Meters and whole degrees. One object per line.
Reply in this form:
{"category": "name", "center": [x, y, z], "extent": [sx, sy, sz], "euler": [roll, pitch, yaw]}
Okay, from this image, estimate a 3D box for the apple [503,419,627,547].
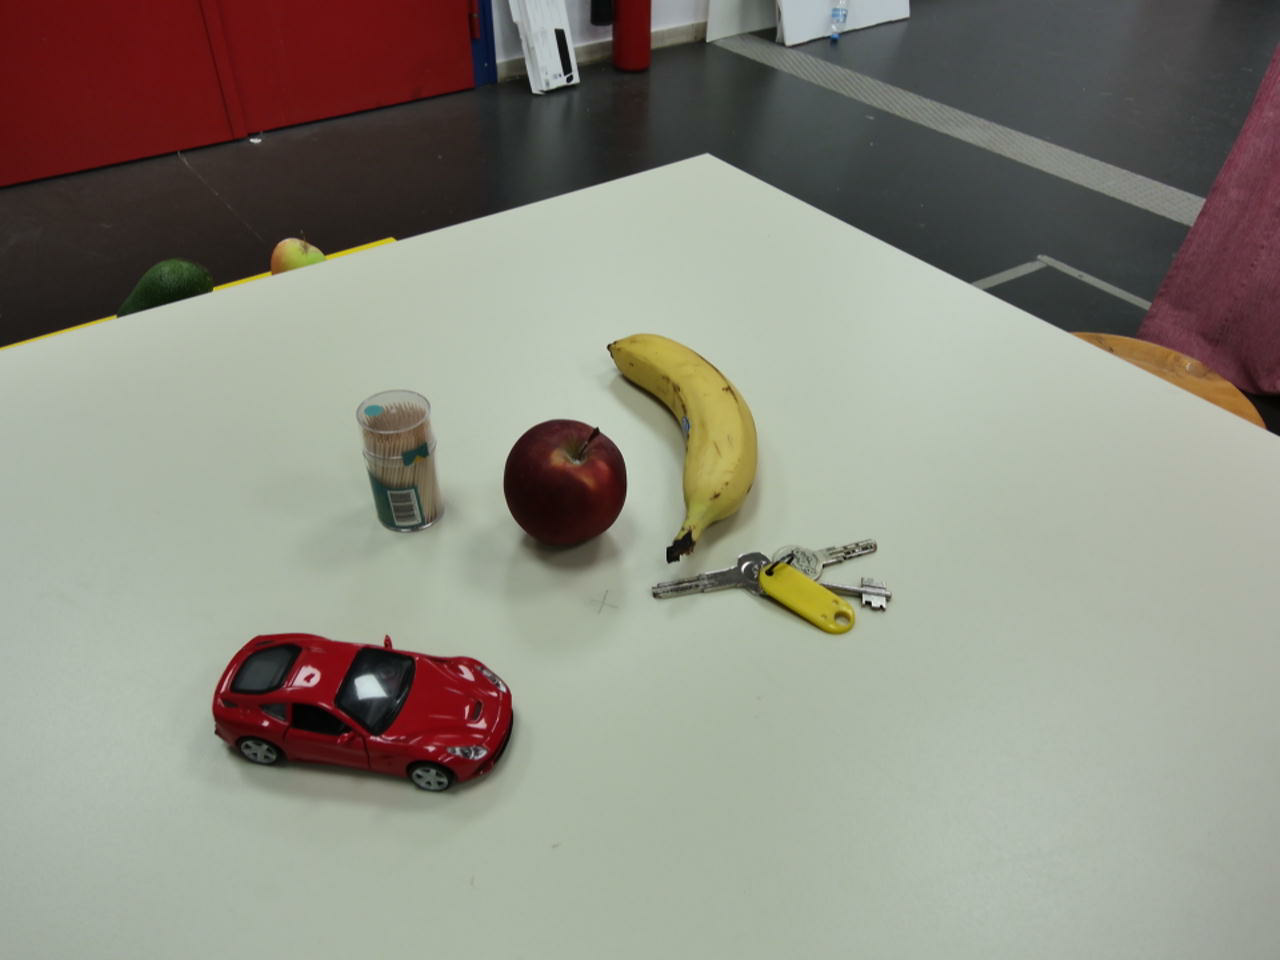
{"category": "apple", "center": [-0.042, 0.003, 0.558], "extent": [0.070, 0.072, 0.070], "euler": [0, 38, 0]}
